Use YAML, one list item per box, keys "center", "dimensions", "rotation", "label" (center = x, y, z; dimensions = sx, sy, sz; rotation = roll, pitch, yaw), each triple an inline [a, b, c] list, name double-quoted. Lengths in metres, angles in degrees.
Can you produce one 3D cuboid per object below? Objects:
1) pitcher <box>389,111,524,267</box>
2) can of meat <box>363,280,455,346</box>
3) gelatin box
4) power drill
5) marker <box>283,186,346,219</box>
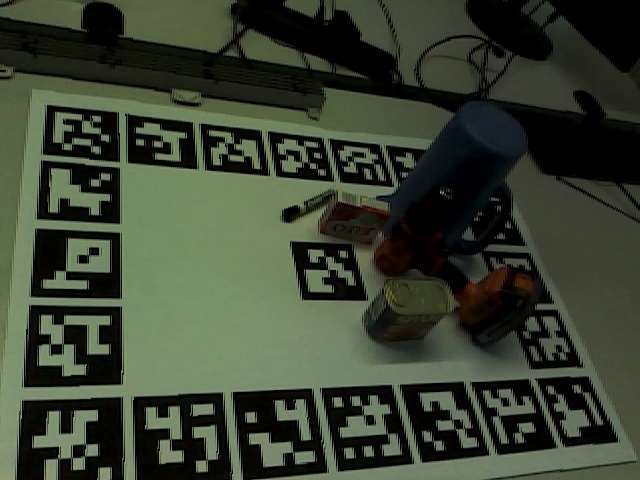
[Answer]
- center: [0.218, -0.068, 0.938]
  dimensions: [0.189, 0.242, 0.133]
  rotation: [25, 51, 4]
  label: "pitcher"
- center: [0.119, 0.102, 0.851]
  dimensions: [0.101, 0.084, 0.058]
  rotation: [2, 51, -23]
  label: "can of meat"
- center: [0.059, -0.026, 0.939]
  dimensions: [0.089, 0.073, 0.030]
  rotation: [13, 54, -17]
  label: "gelatin box"
- center: [0.185, 0.026, 0.878]
  dimensions: [0.187, 0.185, 0.057]
  rotation: [34, 50, -4]
  label: "power drill"
- center: [-0.009, -0.059, 0.967]
  dimensions: [0.120, 0.019, 0.020]
  rotation: [-24, 67, -35]
  label: "marker"
